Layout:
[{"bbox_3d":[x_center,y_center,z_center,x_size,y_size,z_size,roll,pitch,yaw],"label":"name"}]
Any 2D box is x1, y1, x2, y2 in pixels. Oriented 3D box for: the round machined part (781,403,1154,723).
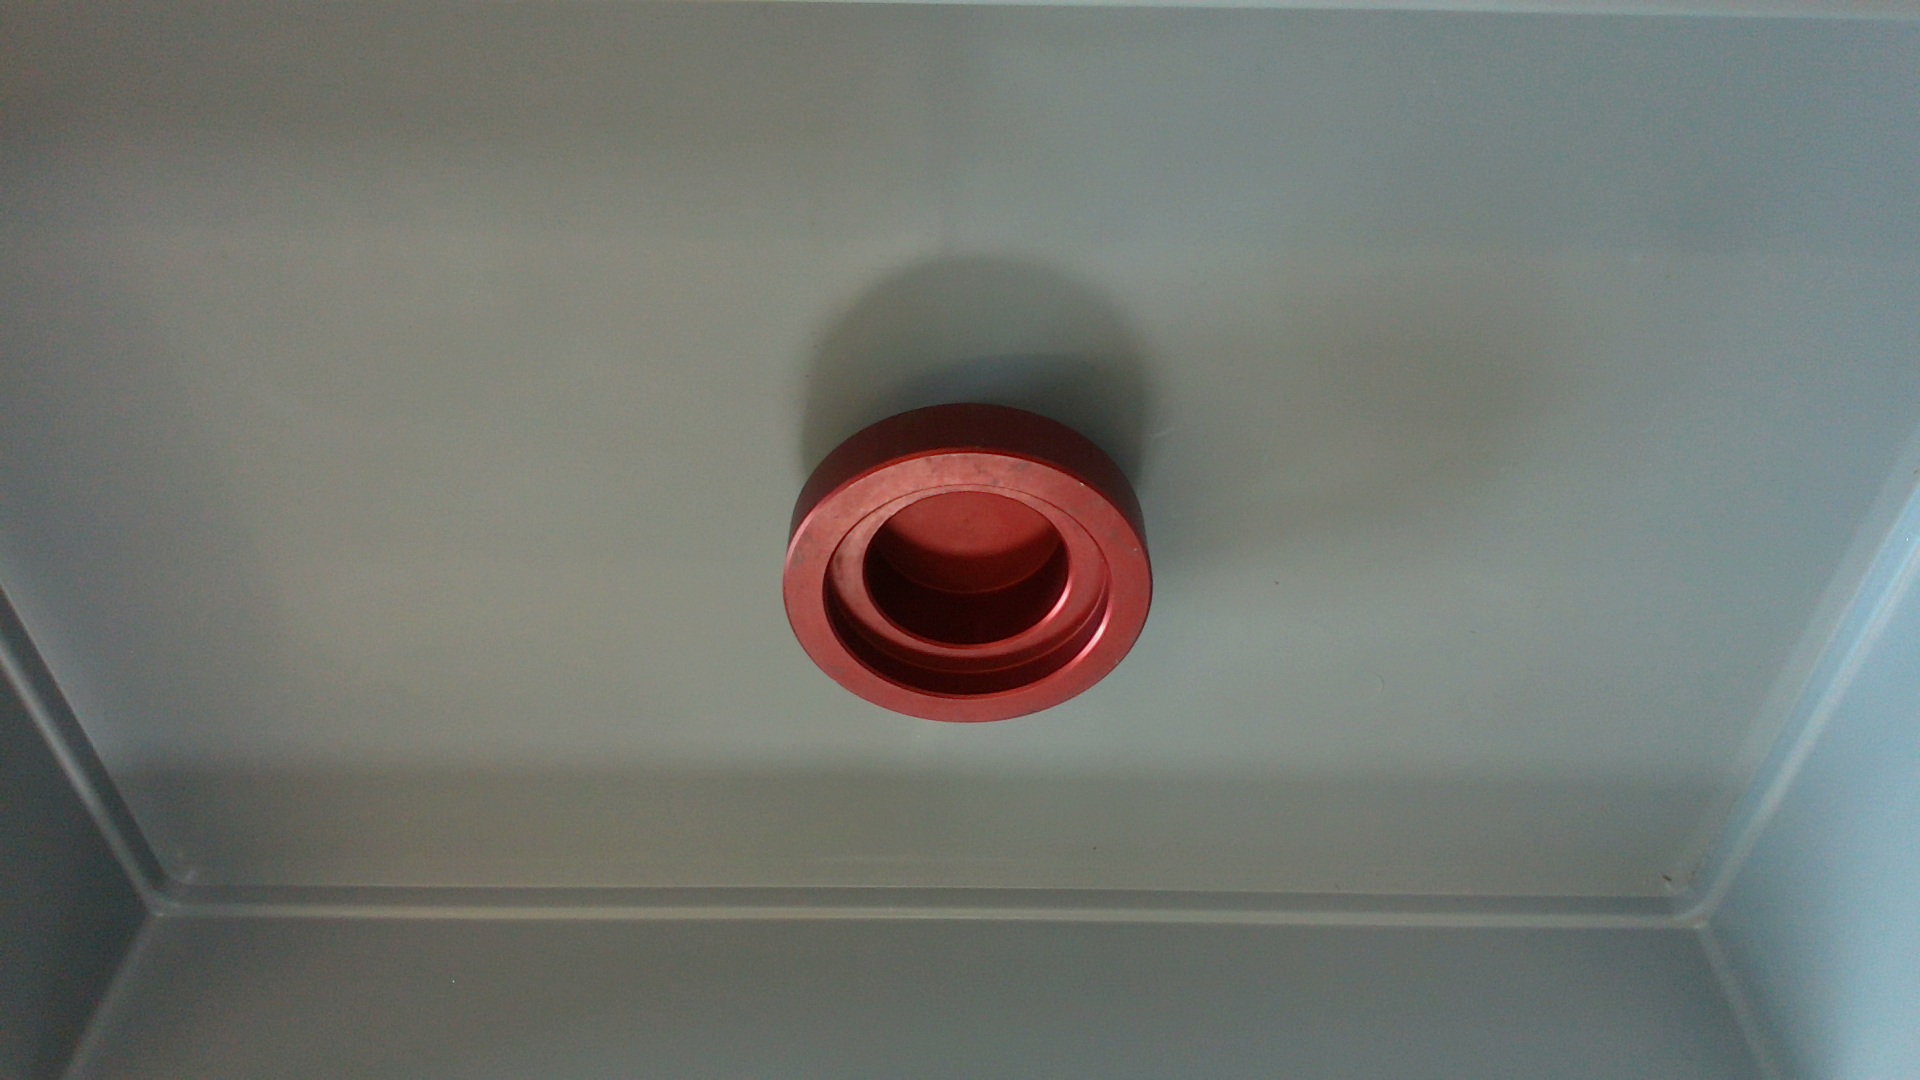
[{"bbox_3d":[0.002,0.002,0.378,0.098,0.042,0.098,0,130,0],"label":"round machined part"}]
